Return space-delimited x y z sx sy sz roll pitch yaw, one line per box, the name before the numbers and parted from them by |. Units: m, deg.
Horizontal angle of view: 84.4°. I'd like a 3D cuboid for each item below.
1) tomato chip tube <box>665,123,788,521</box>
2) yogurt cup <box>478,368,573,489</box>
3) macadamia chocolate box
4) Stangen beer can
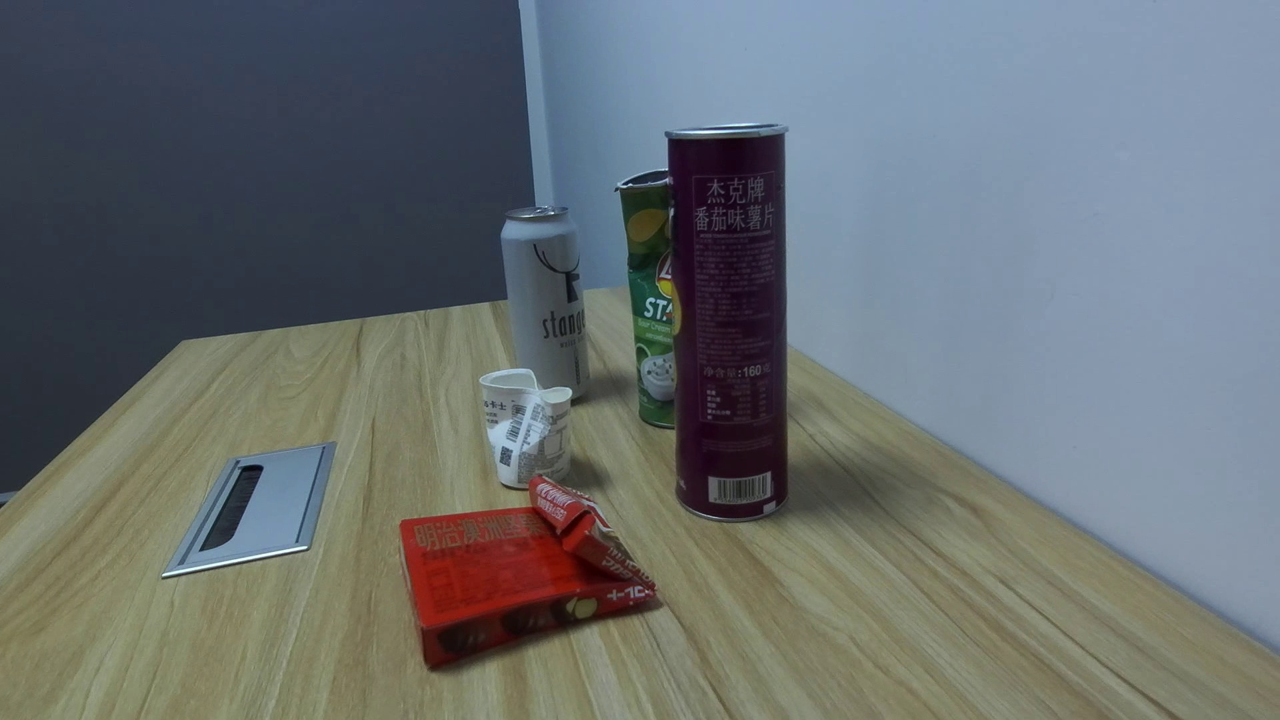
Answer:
tomato chip tube | 0.056 -0.020 0.437 0.076 0.234 0.080 13 25 37
yogurt cup | -0.080 0.049 0.507 0.075 0.071 0.054 1 22 13
macadamia chocolate box | -0.068 0.110 0.401 0.127 0.056 0.112 -12 6 -19
Stangen beer can | -0.083 -0.045 0.630 0.067 0.171 0.067 -3 16 1
